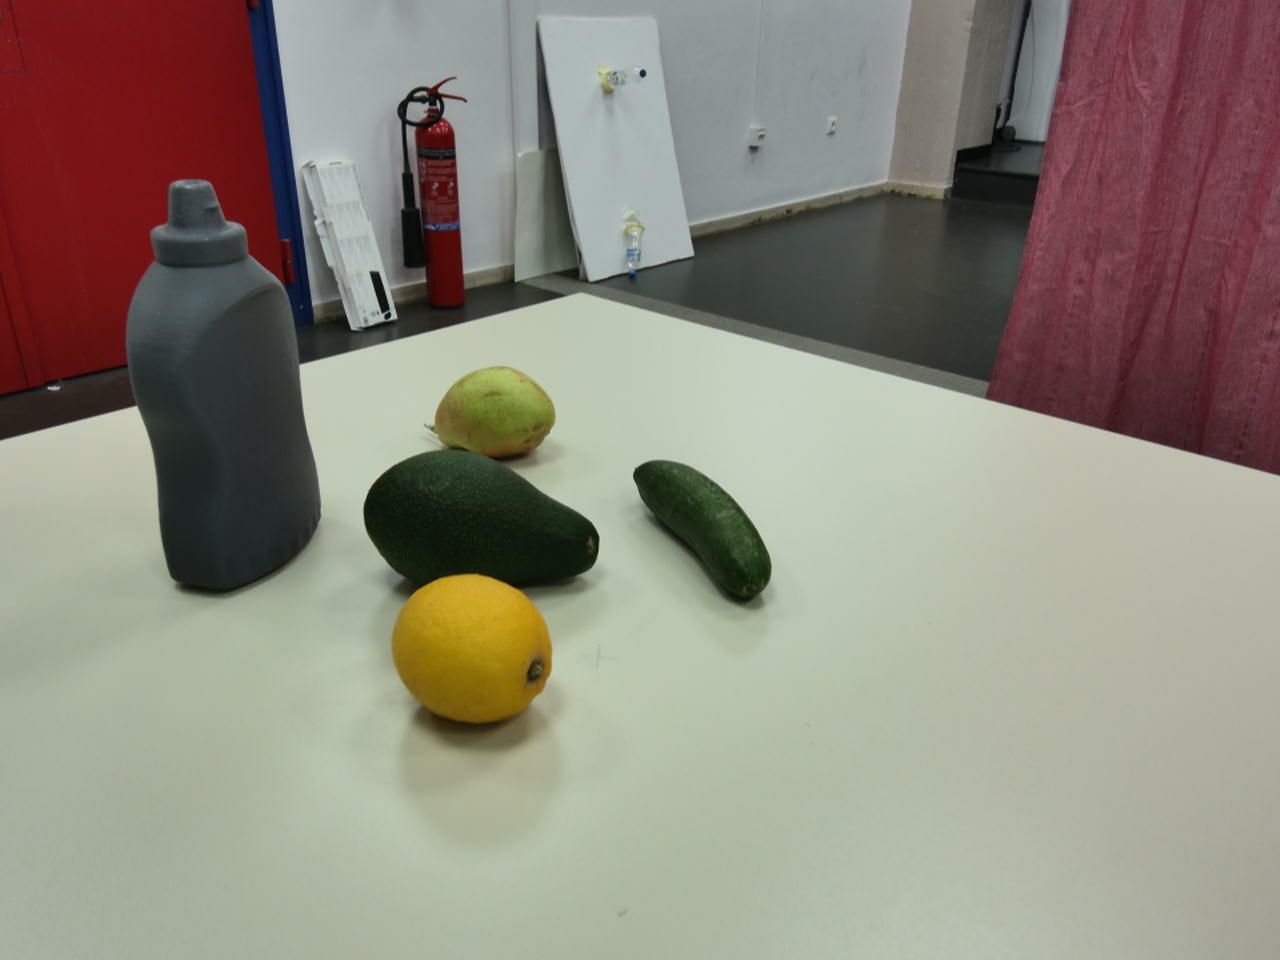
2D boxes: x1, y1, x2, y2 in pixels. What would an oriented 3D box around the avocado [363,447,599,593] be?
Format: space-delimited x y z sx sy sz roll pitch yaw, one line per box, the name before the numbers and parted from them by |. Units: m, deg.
avocado | -0.081 0.020 0.499 0.110 0.071 0.072 8 25 16
